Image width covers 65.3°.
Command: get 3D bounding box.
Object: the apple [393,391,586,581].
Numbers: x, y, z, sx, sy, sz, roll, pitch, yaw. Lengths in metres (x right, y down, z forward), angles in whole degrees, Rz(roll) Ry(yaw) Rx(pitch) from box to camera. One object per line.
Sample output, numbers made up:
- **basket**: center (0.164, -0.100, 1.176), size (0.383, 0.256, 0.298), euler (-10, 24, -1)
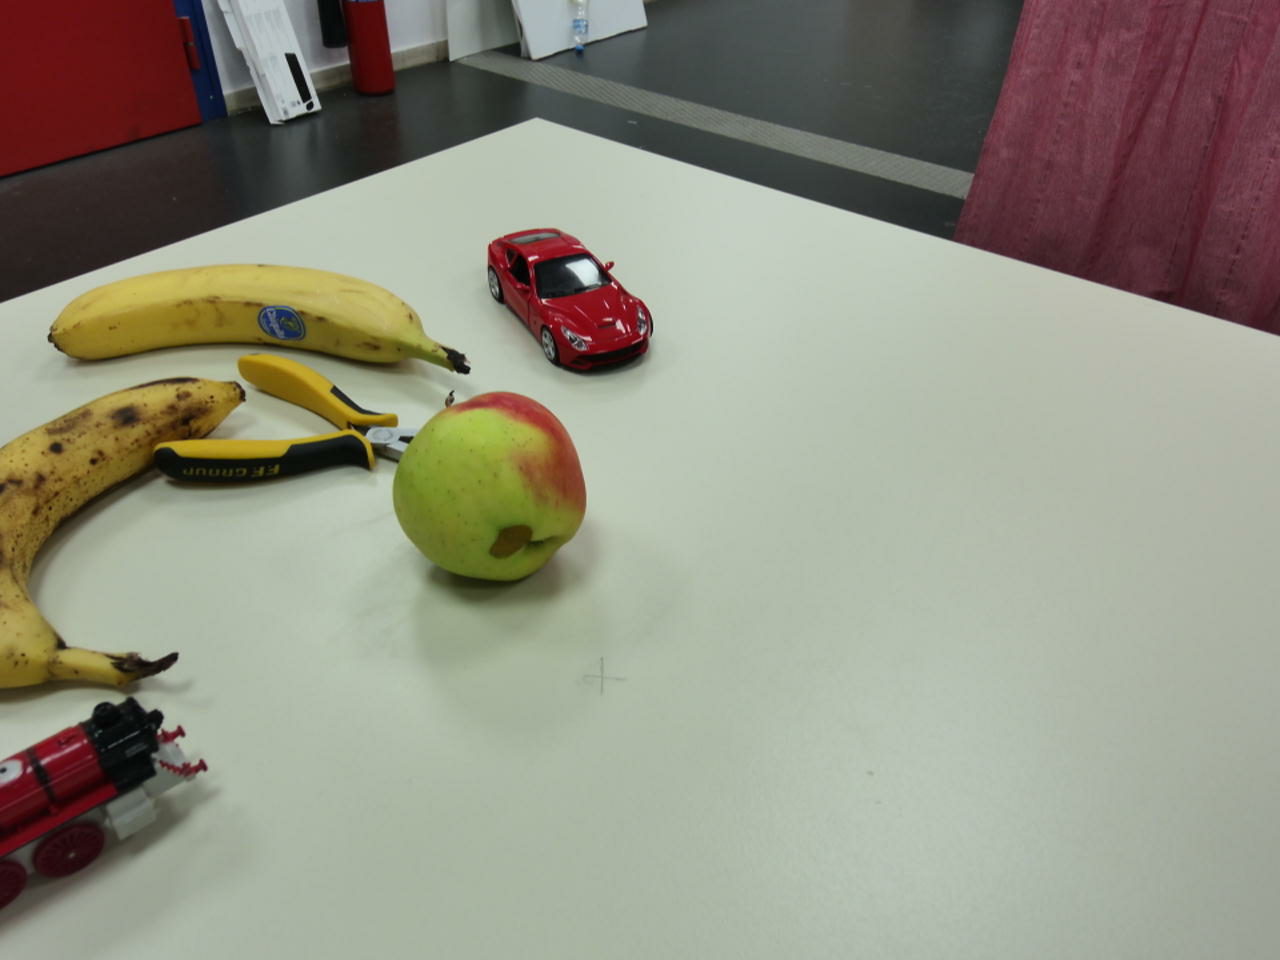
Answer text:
- **apple**: center (-0.059, 0.002, 0.405), size (0.075, 0.074, 0.075), euler (12, 37, 15)
